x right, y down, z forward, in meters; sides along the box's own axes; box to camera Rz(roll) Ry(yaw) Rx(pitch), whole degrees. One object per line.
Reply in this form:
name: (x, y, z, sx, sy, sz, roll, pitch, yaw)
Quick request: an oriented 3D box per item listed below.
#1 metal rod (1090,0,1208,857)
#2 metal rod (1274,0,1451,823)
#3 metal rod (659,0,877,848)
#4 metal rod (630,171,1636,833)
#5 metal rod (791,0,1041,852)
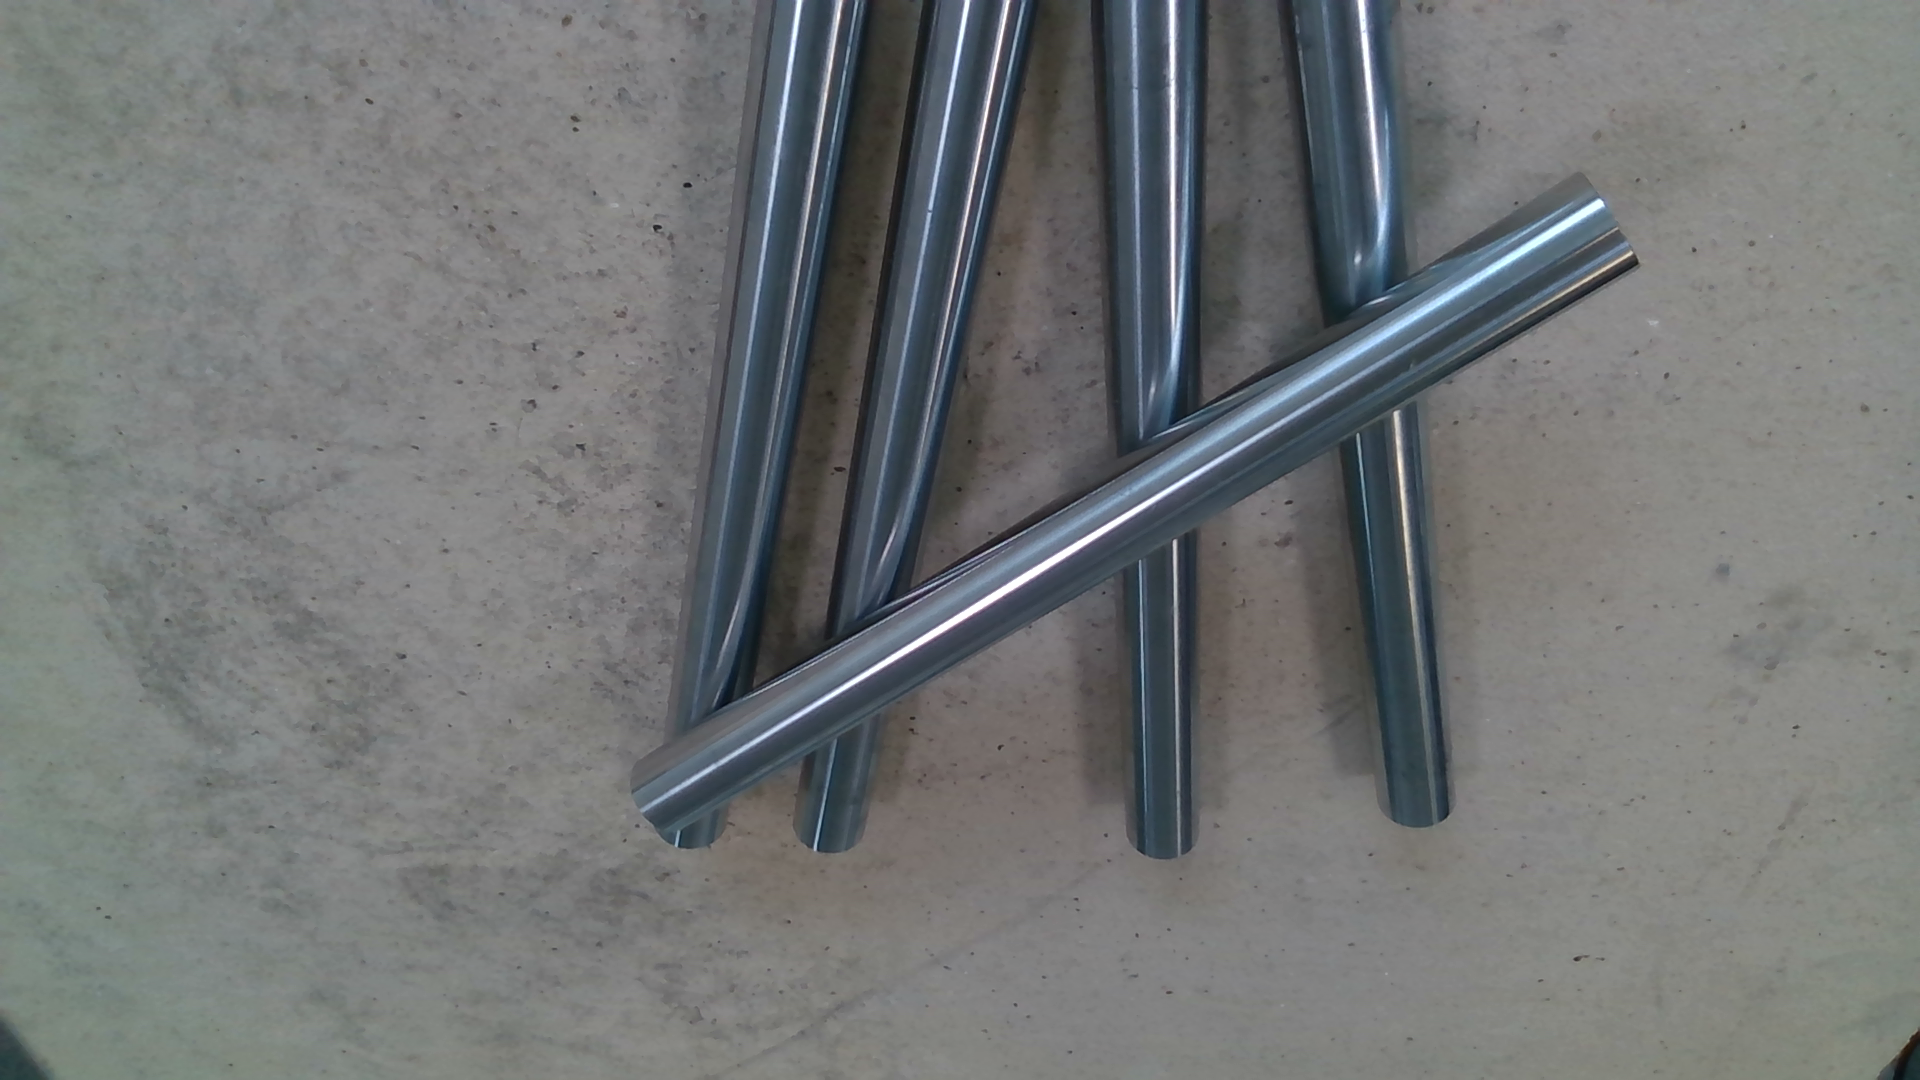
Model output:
metal rod: (0.054, -0.015, 0.377, 0.025, 0.025, 0.301, -5, 130, 4)
metal rod: (0.112, -0.026, 0.368, 0.025, 0.025, 0.301, -12, 129, 10)
metal rod: (-0.059, -0.018, 0.374, 0.025, 0.025, 0.301, 10, 130, -8)
metal rod: (0.024, 0.004, 0.360, 0.300, 0.025, 0.025, -33, 123, 24)
metal rod: (-0.018, -0.016, 0.375, 0.025, 0.025, 0.301, 8, 130, -7)
